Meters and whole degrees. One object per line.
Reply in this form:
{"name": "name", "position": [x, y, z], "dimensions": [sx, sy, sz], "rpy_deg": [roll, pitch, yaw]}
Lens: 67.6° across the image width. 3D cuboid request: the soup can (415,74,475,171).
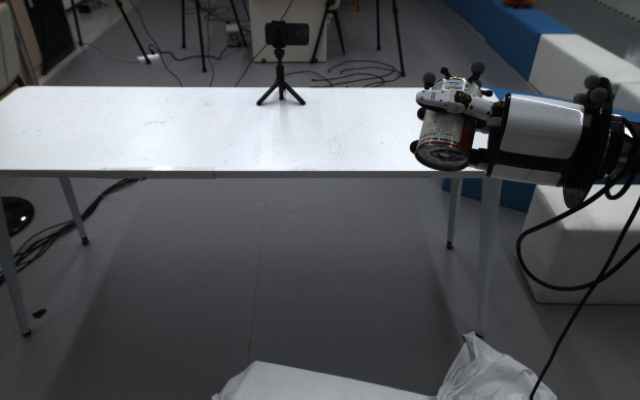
{"name": "soup can", "position": [0.166, -0.100, 0.623], "dimensions": [0.067, 0.067, 0.101], "rpy_deg": [12, 70, 14]}
